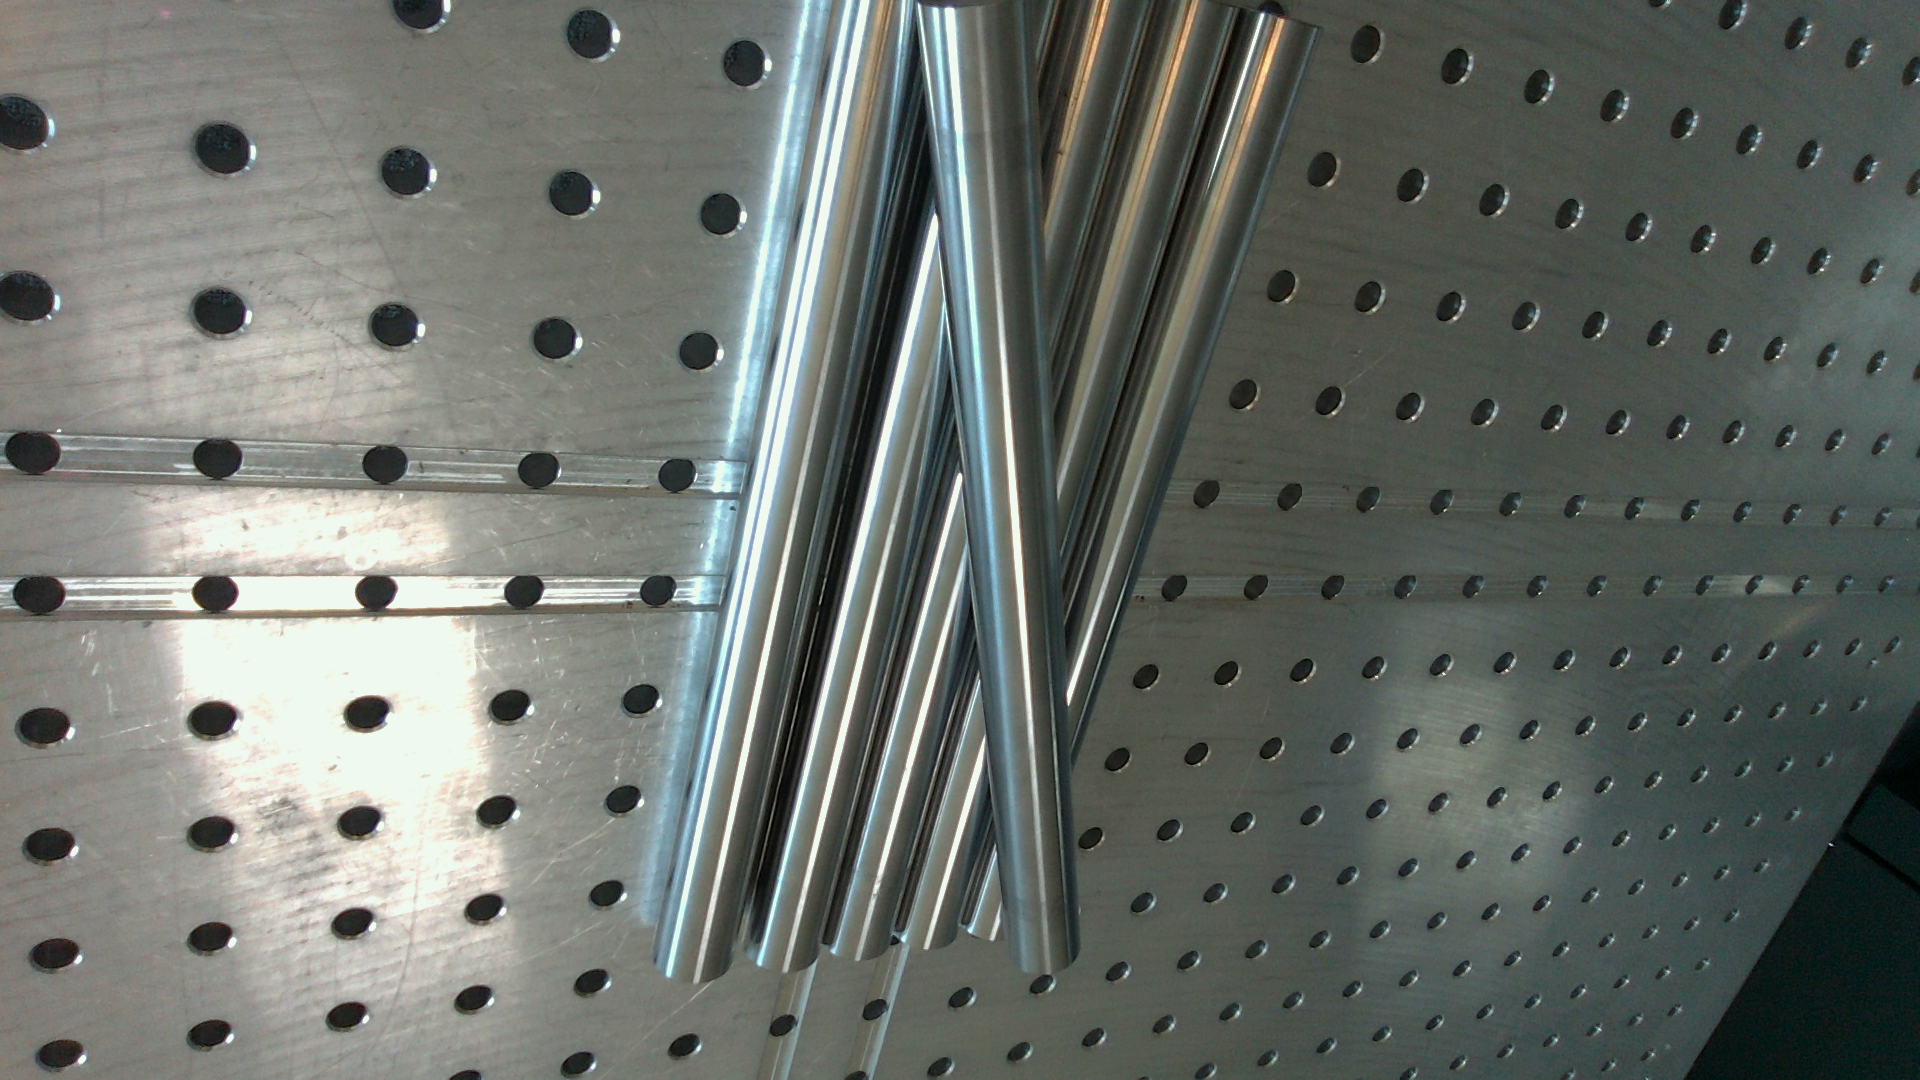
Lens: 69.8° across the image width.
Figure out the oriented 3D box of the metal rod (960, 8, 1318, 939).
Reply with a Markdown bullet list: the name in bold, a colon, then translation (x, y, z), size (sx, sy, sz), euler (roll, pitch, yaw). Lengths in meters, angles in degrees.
- **metal rod**: translation (0.044, -0.003, 0.415), size (0.025, 0.025, 0.300), euler (1, 118, -29)

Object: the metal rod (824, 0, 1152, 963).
- **metal rod**: translation (-0.001, -0.002, 0.389), size (0.025, 0.025, 0.300), euler (1, 118, -29)

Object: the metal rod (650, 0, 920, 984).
- **metal rod**: translation (-0.048, -0.004, 0.362), size (0.025, 0.025, 0.300), euler (1, 118, -29)

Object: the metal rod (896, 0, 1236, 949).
- **metal rod**: translation (0.021, -0.003, 0.402), size (0.025, 0.025, 0.300), euler (1, 118, -29)

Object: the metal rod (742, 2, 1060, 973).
- **metal rod**: translation (-0.022, -0.003, 0.377), size (0.025, 0.025, 0.300), euler (1, 118, -29)

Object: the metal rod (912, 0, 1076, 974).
- **metal rod**: translation (0.014, 0.009, 0.373), size (0.025, 0.025, 0.300), euler (-18, 125, -18)
